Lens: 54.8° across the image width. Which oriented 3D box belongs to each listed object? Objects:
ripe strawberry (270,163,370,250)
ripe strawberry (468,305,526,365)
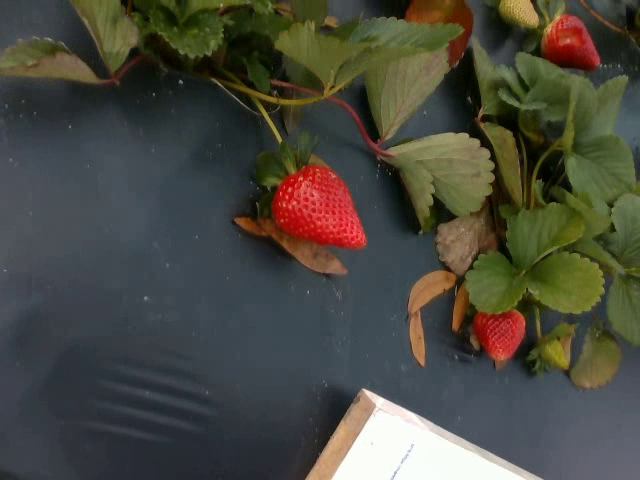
[{"bbox_3d":[0.004,-0.012,0.335,0.065,0.047,0.042,39,3,26],"label":"ripe strawberry"},{"bbox_3d":[0.120,0.066,0.400,0.037,0.042,0.040,-28,-59,35],"label":"ripe strawberry"}]
